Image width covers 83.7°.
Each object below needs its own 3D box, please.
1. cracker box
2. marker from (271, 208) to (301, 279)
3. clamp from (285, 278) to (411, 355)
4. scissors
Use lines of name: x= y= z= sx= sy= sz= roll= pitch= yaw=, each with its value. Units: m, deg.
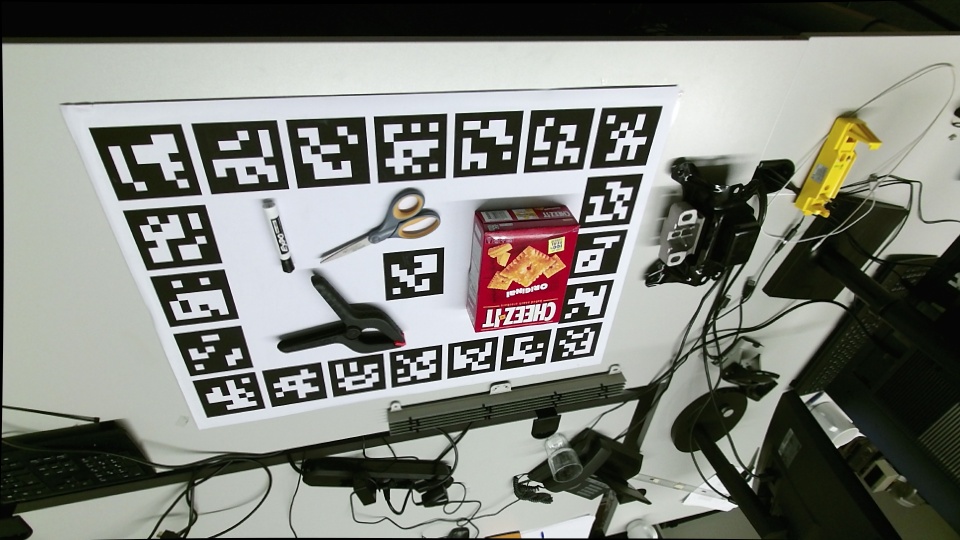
cracker box: x=0.076 y=0.005 z=0.925 sx=0.165 sy=0.071 sz=0.213 roll=-6 pitch=128 yaw=-15
marker: x=-0.288 y=-0.036 z=0.800 sx=0.020 sy=0.019 sz=0.121 roll=-10 pitch=129 yaw=-12
clamp: x=-0.212 y=0.105 z=0.942 sx=0.204 sy=0.036 sz=0.165 roll=21 pitch=118 yaw=-30
scissors: x=-0.151 y=-0.048 z=0.839 sx=0.203 sy=0.016 sz=0.088 roll=-28 pitch=131 yaw=6
